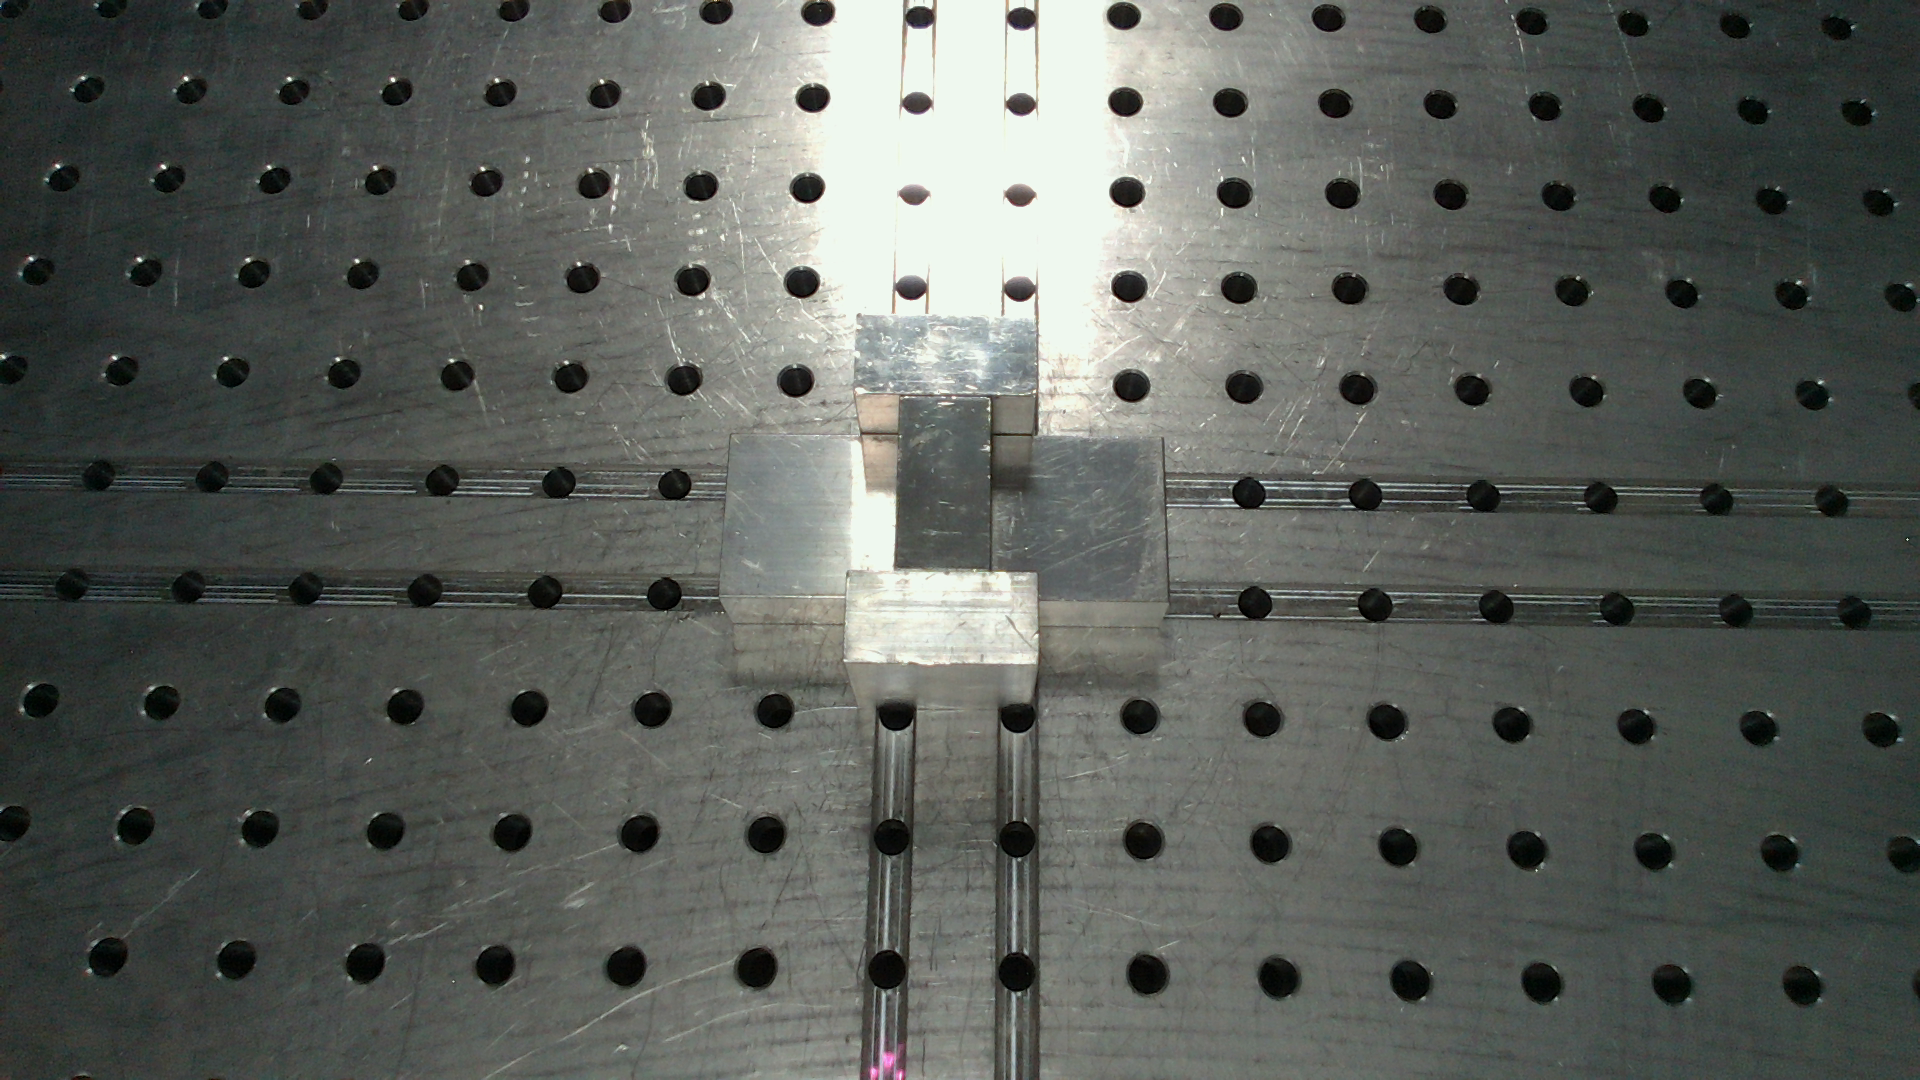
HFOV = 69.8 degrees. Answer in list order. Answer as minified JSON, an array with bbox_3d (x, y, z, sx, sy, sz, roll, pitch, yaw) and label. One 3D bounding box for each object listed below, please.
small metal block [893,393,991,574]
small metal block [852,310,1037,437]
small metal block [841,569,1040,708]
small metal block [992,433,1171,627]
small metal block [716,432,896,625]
[{"bbox_3d":[-0.004,-0.007,0.386,0.025,0.050,0.050,1,70,0],"label":"small metal block"},{"bbox_3d":[-0.004,-0.043,0.399,0.050,0.050,0.025,1,70,0],"label":"small metal block"},{"bbox_3d":[-0.004,0.028,0.373,0.050,0.050,0.025,1,70,0],"label":"small metal block"},{"bbox_3d":[0.033,-0.003,0.398,0.050,0.025,0.050,1,70,0],"label":"small metal block"},{"bbox_3d":[-0.042,-0.003,0.398,0.050,0.025,0.050,0,70,0],"label":"small metal block"}]
